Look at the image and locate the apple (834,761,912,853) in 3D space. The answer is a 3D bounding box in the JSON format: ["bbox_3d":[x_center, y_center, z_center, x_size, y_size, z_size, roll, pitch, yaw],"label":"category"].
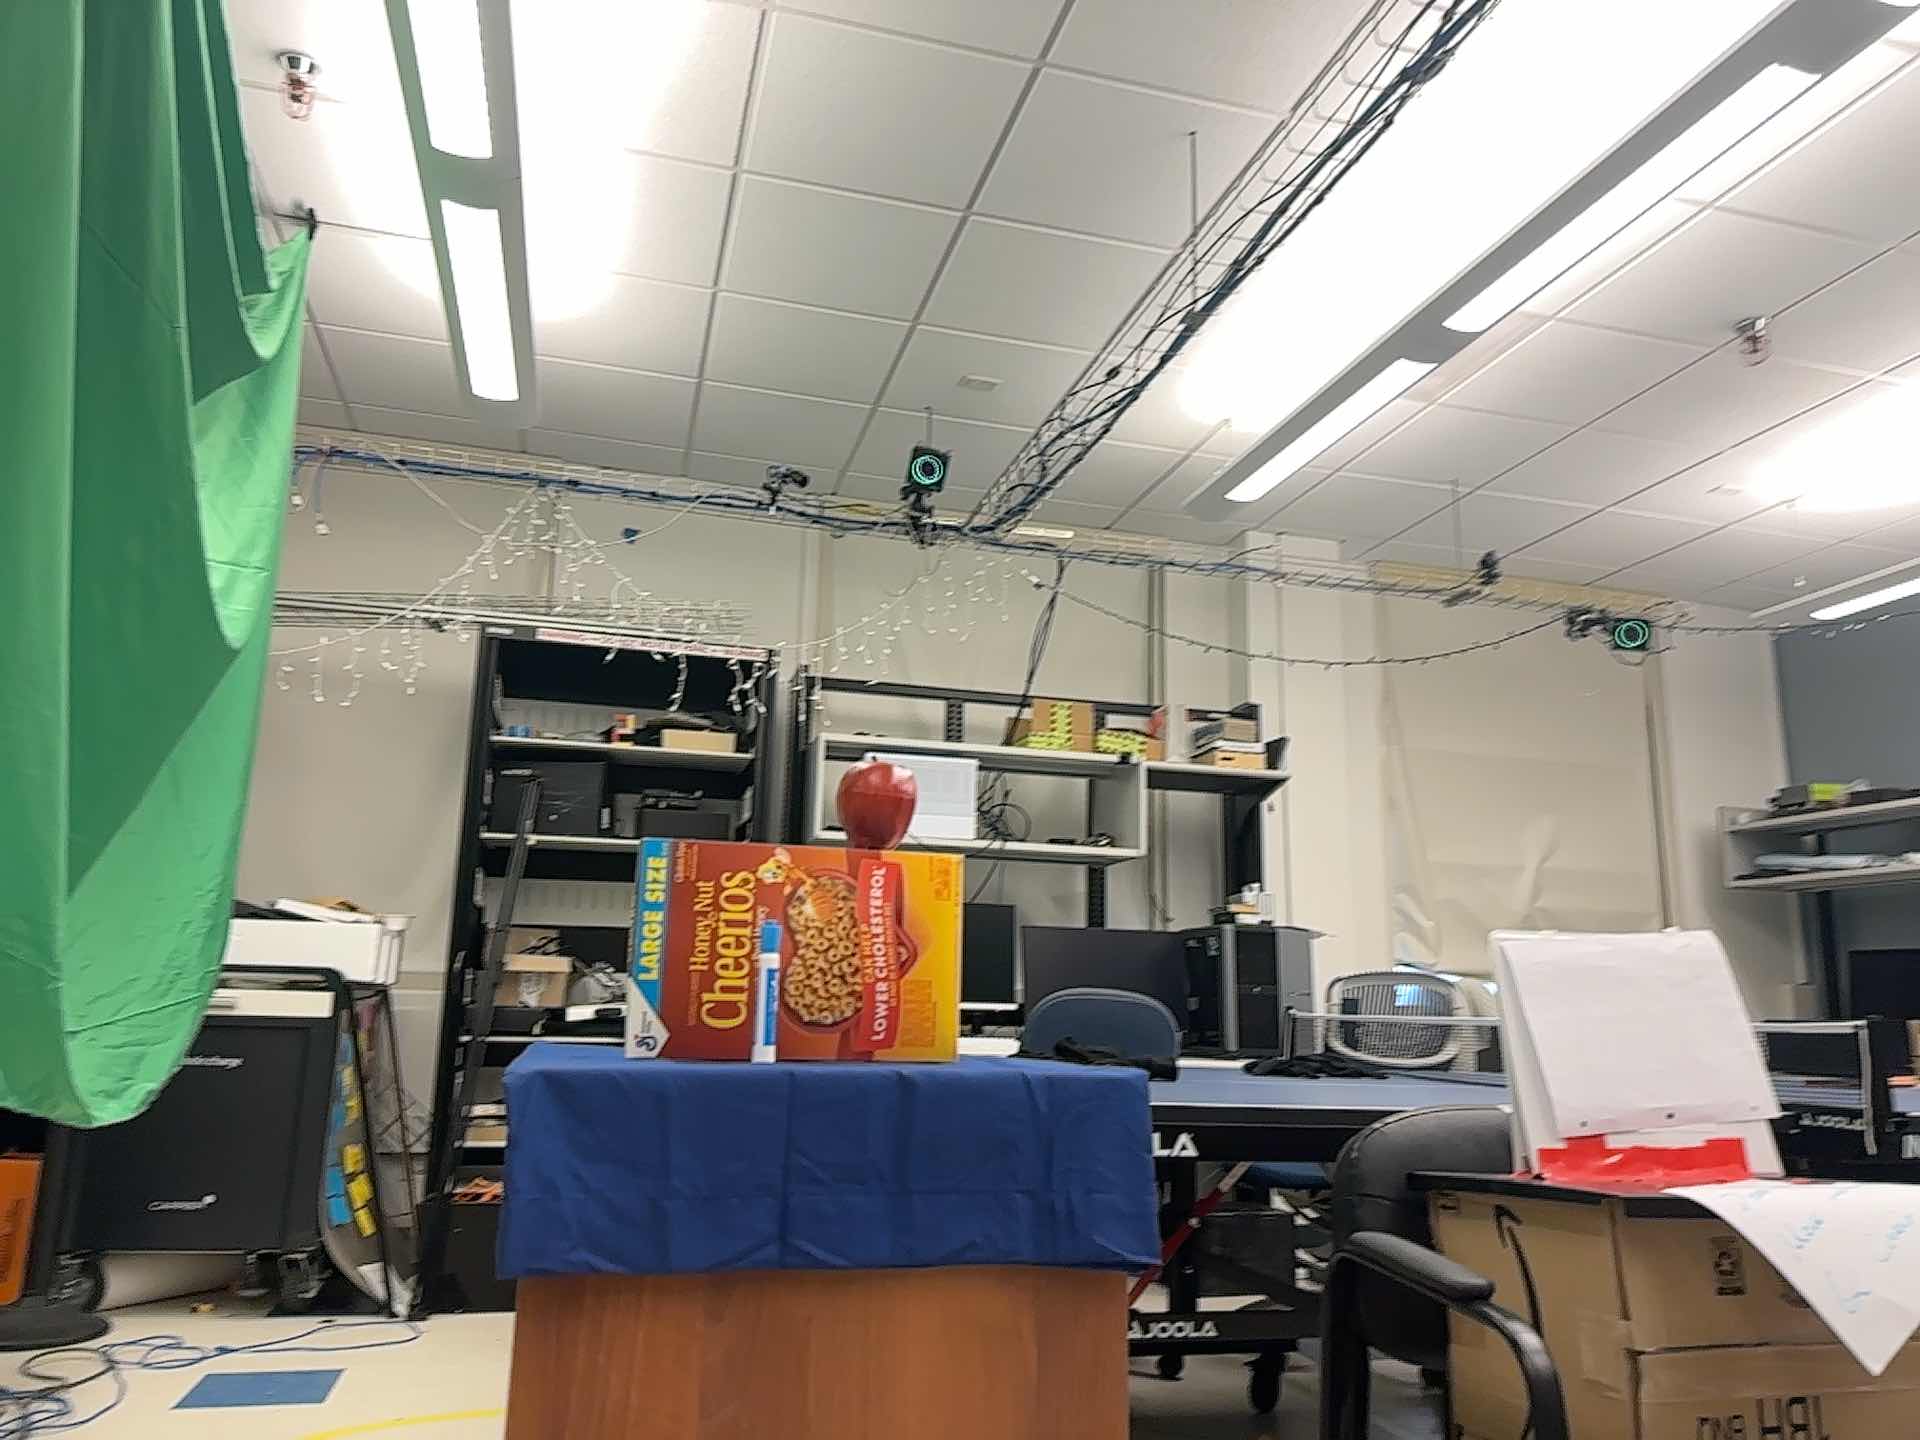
[{"bbox_3d":[-0.085,0.086,1.312,0.079,0.093,0.079,3,-13,1],"label":"apple"}]

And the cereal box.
[{"bbox_3d":[-0.151,0.223,1.261,0.297,0.195,0.065,6,-15,-15],"label":"cereal box"}]

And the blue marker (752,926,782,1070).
[{"bbox_3d":[-0.166,0.238,1.157,0.020,0.121,0.020,0,-15,0],"label":"blue marker"}]
